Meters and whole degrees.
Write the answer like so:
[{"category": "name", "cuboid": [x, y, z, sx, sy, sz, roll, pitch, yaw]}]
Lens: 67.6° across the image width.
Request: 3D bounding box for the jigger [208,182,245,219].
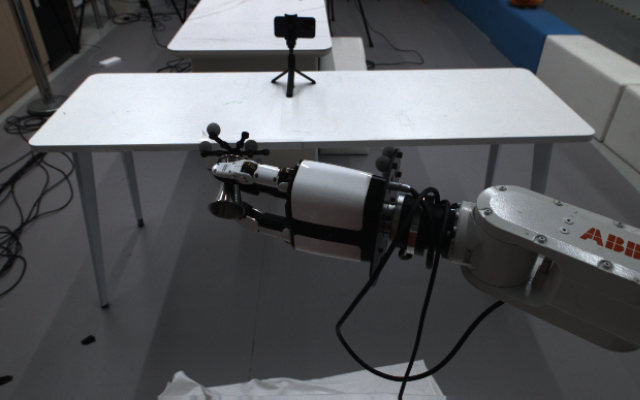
[{"category": "jigger", "cuboid": [-0.110, -0.019, 0.590, 0.043, 0.043, 0.071, 2, 59, 0]}]
